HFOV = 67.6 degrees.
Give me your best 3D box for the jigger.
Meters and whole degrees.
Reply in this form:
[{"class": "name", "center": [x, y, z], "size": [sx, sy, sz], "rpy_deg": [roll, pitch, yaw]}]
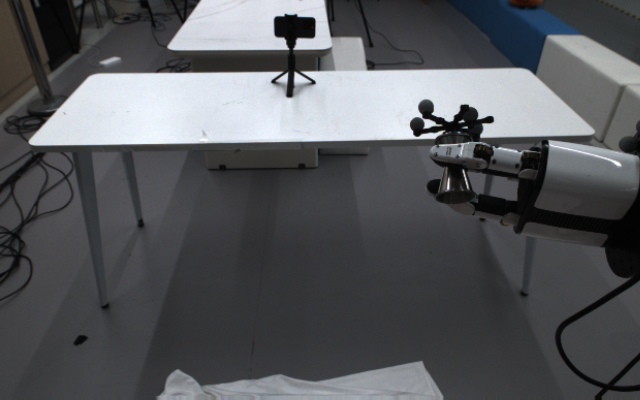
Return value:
[{"class": "jigger", "center": [0.145, -0.036, 0.528], "size": [0.043, 0.043, 0.071], "rpy_deg": [3, 72, 1]}]
